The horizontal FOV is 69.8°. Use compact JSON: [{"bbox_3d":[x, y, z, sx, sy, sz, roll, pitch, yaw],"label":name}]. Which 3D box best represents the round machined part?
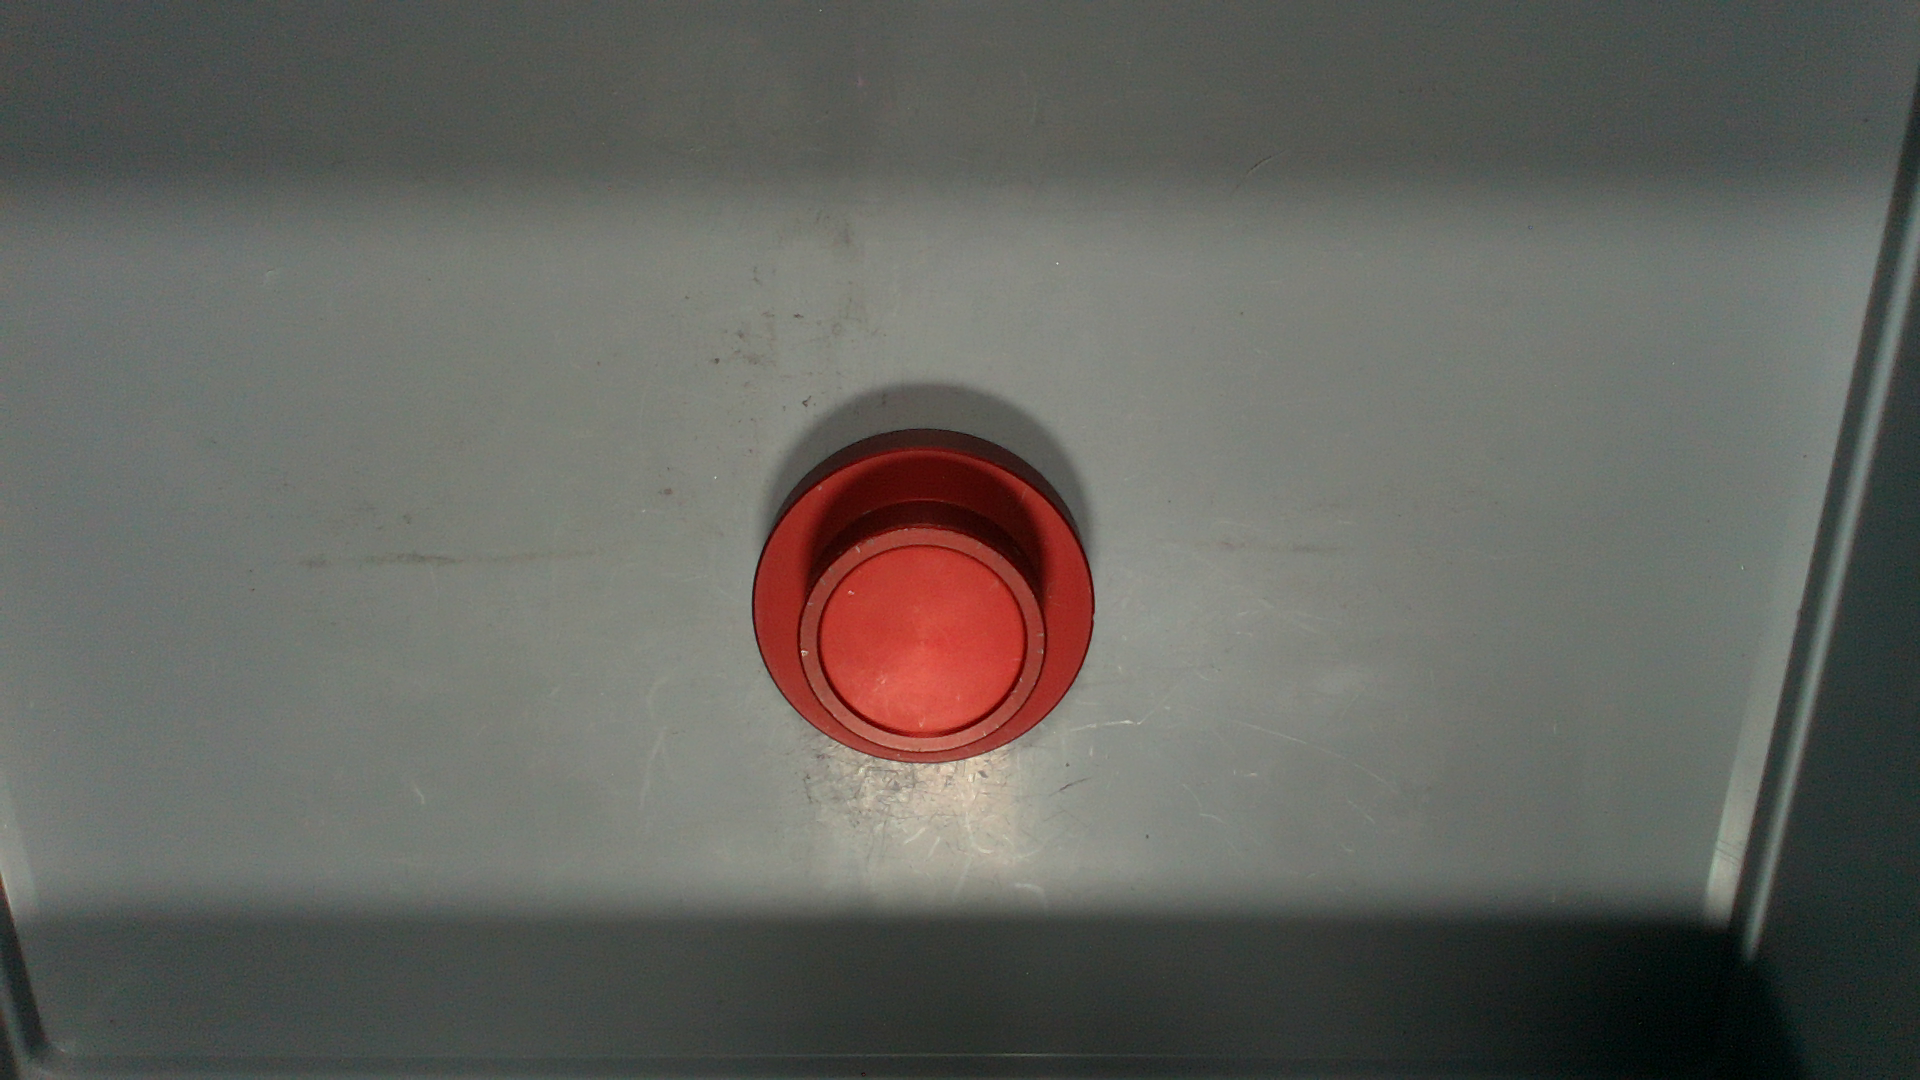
[{"bbox_3d":[-0.010,0.021,0.389,0.098,0.042,0.098,0,110,0],"label":"round machined part"}]
